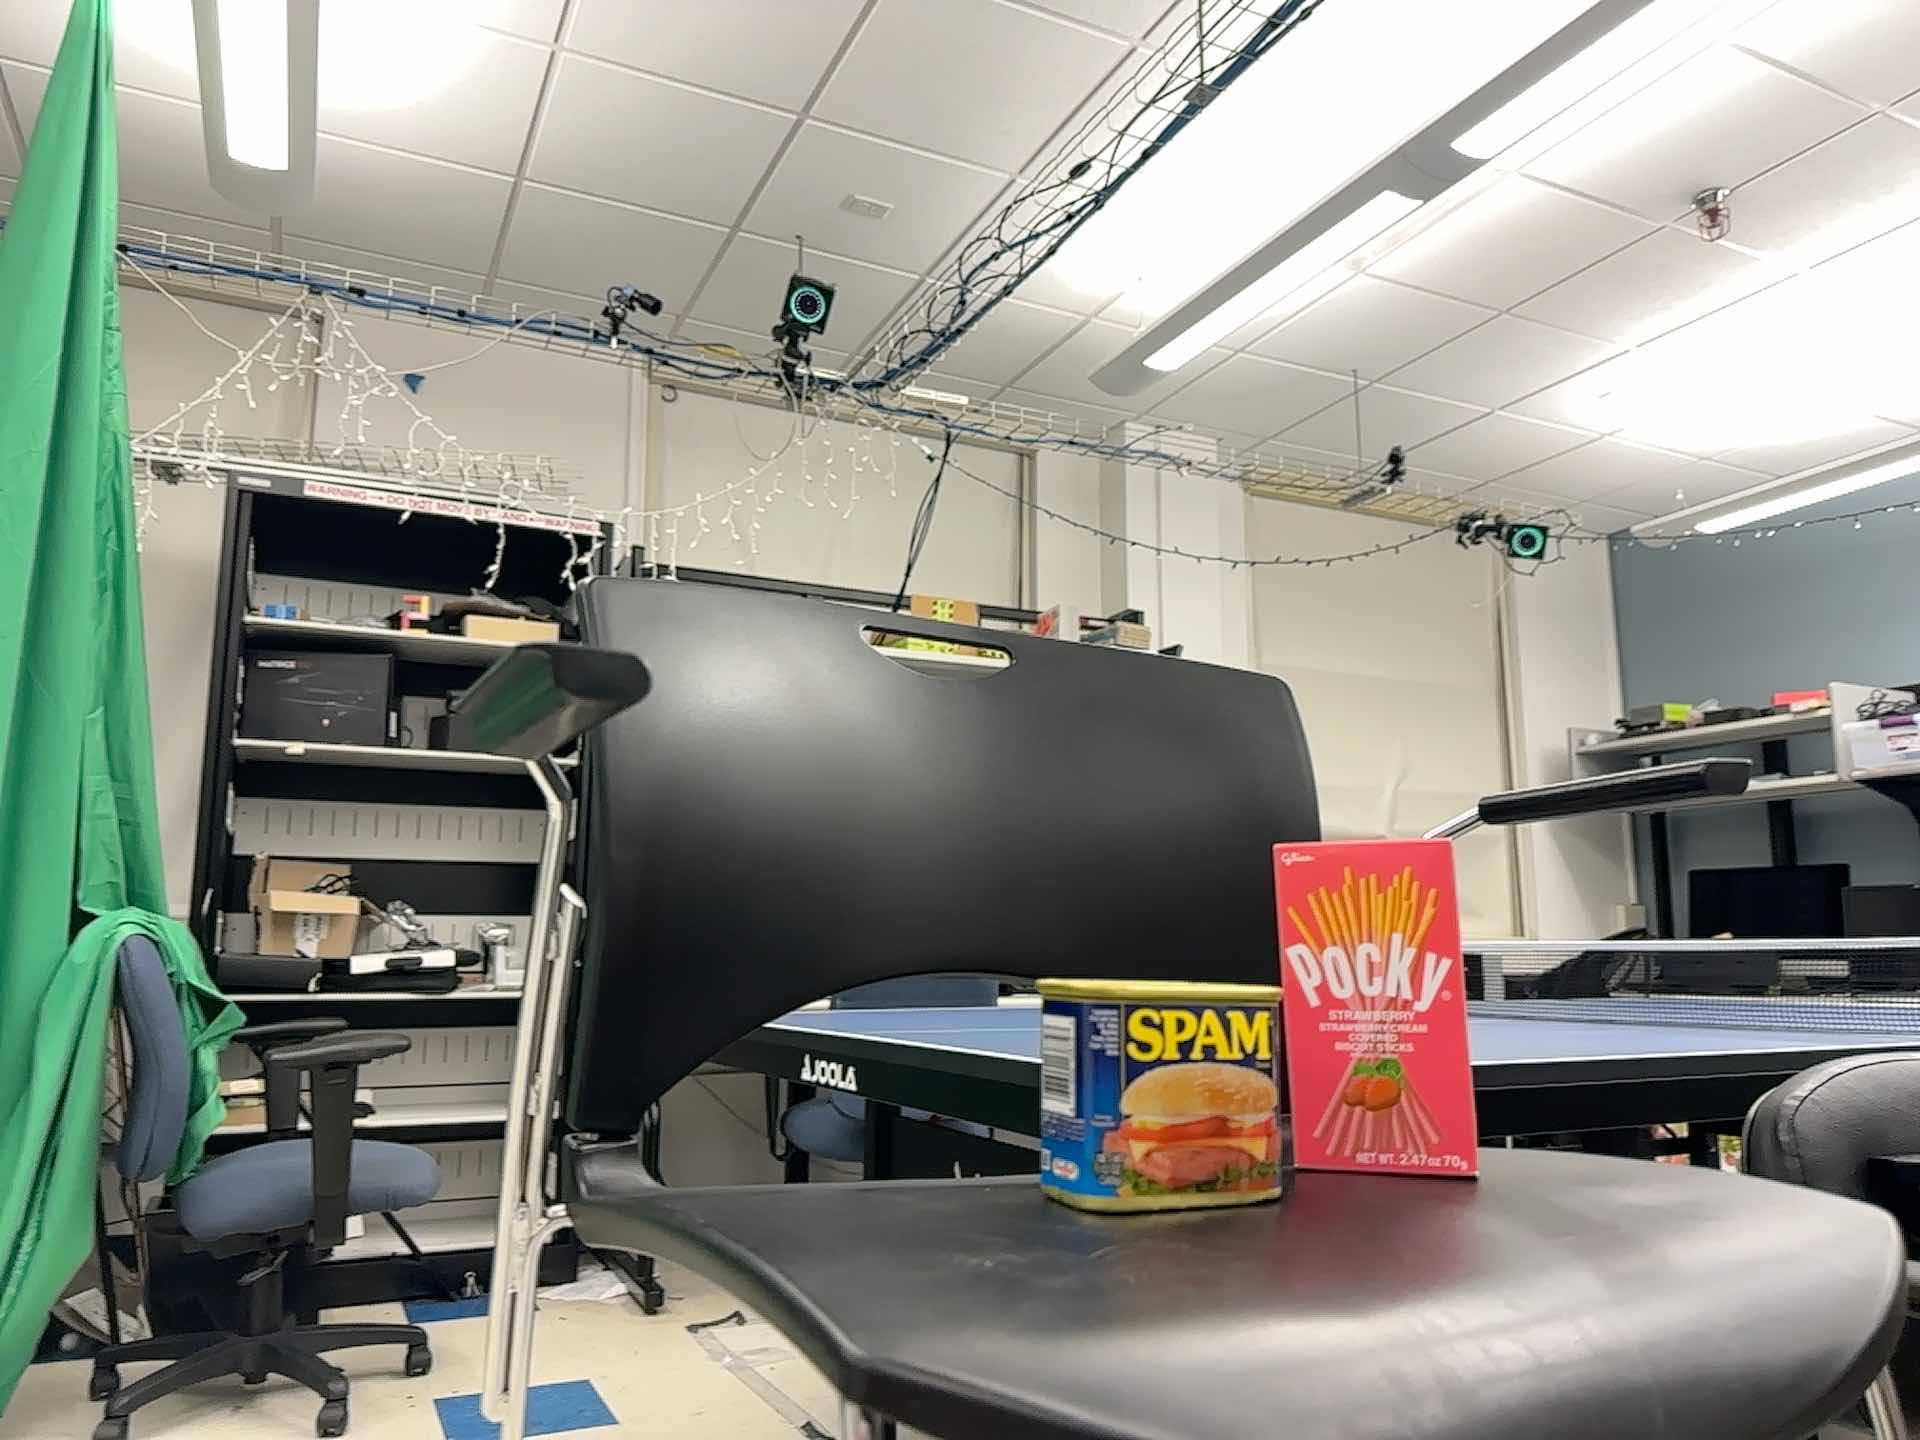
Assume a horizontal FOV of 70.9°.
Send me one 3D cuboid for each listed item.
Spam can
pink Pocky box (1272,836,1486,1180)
[{"bbox_3d":[0.082,0.153,0.554,0.100,0.083,0.056,5,-10,-21],"label":"Spam can"},{"bbox_3d":[0.196,0.135,0.636,0.084,0.155,0.029,-6,-9,22],"label":"pink Pocky box"}]
